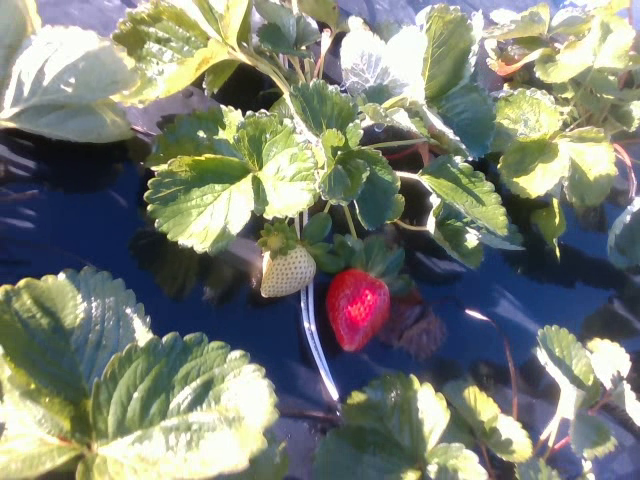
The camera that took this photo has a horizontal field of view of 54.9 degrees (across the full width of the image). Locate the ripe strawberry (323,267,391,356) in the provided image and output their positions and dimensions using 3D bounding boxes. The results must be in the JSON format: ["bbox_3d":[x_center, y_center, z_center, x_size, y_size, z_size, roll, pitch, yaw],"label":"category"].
[{"bbox_3d":[0.033,0.049,0.432,0.040,0.063,0.080,-15,35,29],"label":"ripe strawberry"}]
